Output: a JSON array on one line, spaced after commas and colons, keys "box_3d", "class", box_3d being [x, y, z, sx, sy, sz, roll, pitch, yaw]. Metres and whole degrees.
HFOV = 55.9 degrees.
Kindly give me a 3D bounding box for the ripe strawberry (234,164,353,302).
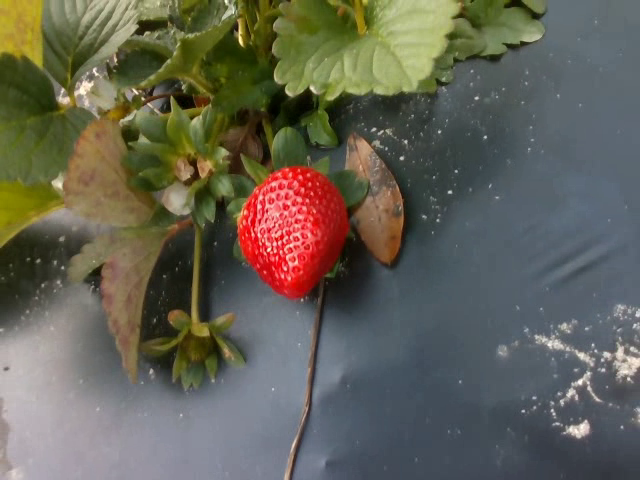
[{"box_3d": [-0.010, 0.001, 0.218, 0.050, 0.049, 0.053, -26, 28, 5], "class": "ripe strawberry"}]
